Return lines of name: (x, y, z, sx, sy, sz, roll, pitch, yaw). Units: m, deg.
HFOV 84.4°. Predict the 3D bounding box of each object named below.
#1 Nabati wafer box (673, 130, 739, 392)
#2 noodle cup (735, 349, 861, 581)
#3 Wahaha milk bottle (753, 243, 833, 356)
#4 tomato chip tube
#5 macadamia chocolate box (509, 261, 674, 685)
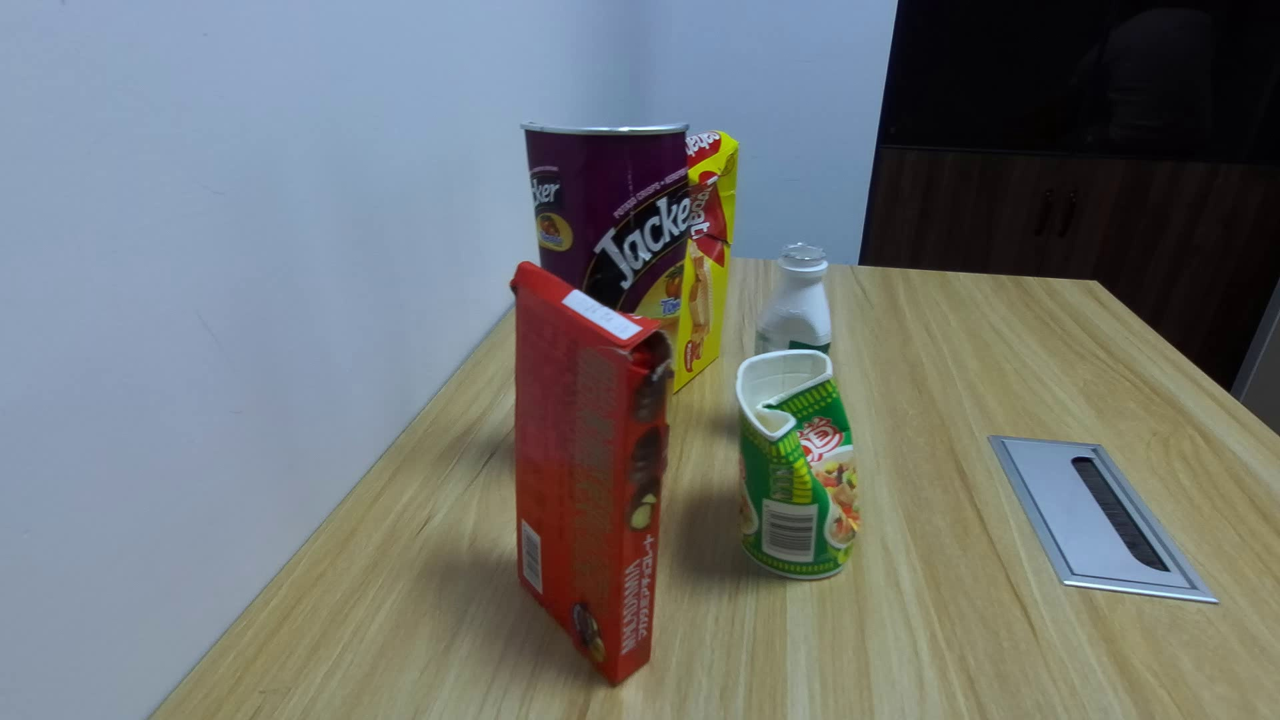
Nabati wafer box: (0.037, -0.079, 0.586, 0.042, 0.204, 0.107, 16, 30, 28)
noodle cup: (0.094, 0.061, 0.411, 0.083, 0.122, 0.075, -22, 26, -20)
Wahaha milk bottle: (0.110, -0.007, 0.506, 0.055, 0.149, 0.055, 1, 26, 0)
tomato chip tube: (-0.018, -0.030, 0.459, 0.077, 0.235, 0.076, 20, 31, 38)
macadamia chocolate box: (-0.029, 0.057, 0.344, 0.027, 0.187, 0.102, -15, 30, -37)
